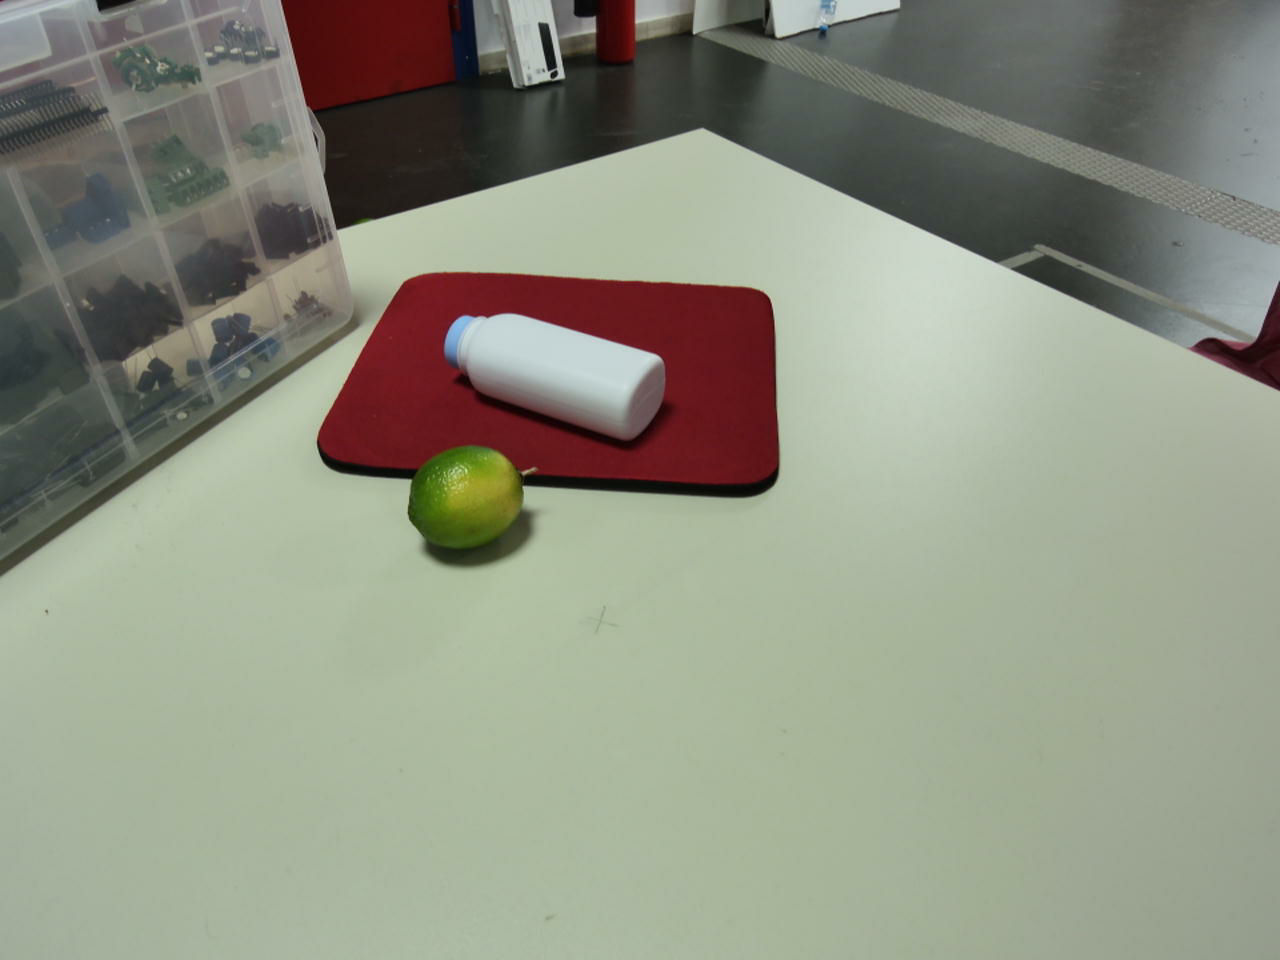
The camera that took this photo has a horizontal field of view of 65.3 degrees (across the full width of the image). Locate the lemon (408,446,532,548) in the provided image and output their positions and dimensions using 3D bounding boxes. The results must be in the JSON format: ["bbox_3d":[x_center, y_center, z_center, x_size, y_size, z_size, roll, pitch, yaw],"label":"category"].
[{"bbox_3d":[-0.087,0.008,0.502,0.055,0.050,0.054,8,38,9],"label":"lemon"}]
